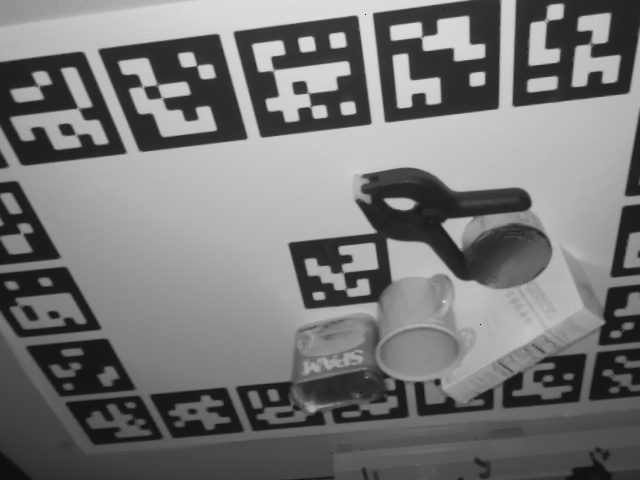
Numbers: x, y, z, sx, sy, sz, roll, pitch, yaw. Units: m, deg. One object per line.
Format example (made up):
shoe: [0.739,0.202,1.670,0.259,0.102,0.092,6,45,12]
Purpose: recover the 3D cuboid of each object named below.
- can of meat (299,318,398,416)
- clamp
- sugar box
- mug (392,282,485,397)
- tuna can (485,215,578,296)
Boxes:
can of meat: [0.032,0.138,0.763,0.101,0.084,0.057,-12,128,11]
clamp: [0.124,-0.027,0.666,0.166,0.037,0.120,25,128,-12]
sugar box: [0.217,0.095,0.723,0.045,0.093,0.174,37,121,-26]
mug: [0.124,0.094,0.719,0.094,0.082,0.115,15,124,-9]
tuna can: [0.209,0.012,0.689,0.086,0.034,0.085,0,126,1]
